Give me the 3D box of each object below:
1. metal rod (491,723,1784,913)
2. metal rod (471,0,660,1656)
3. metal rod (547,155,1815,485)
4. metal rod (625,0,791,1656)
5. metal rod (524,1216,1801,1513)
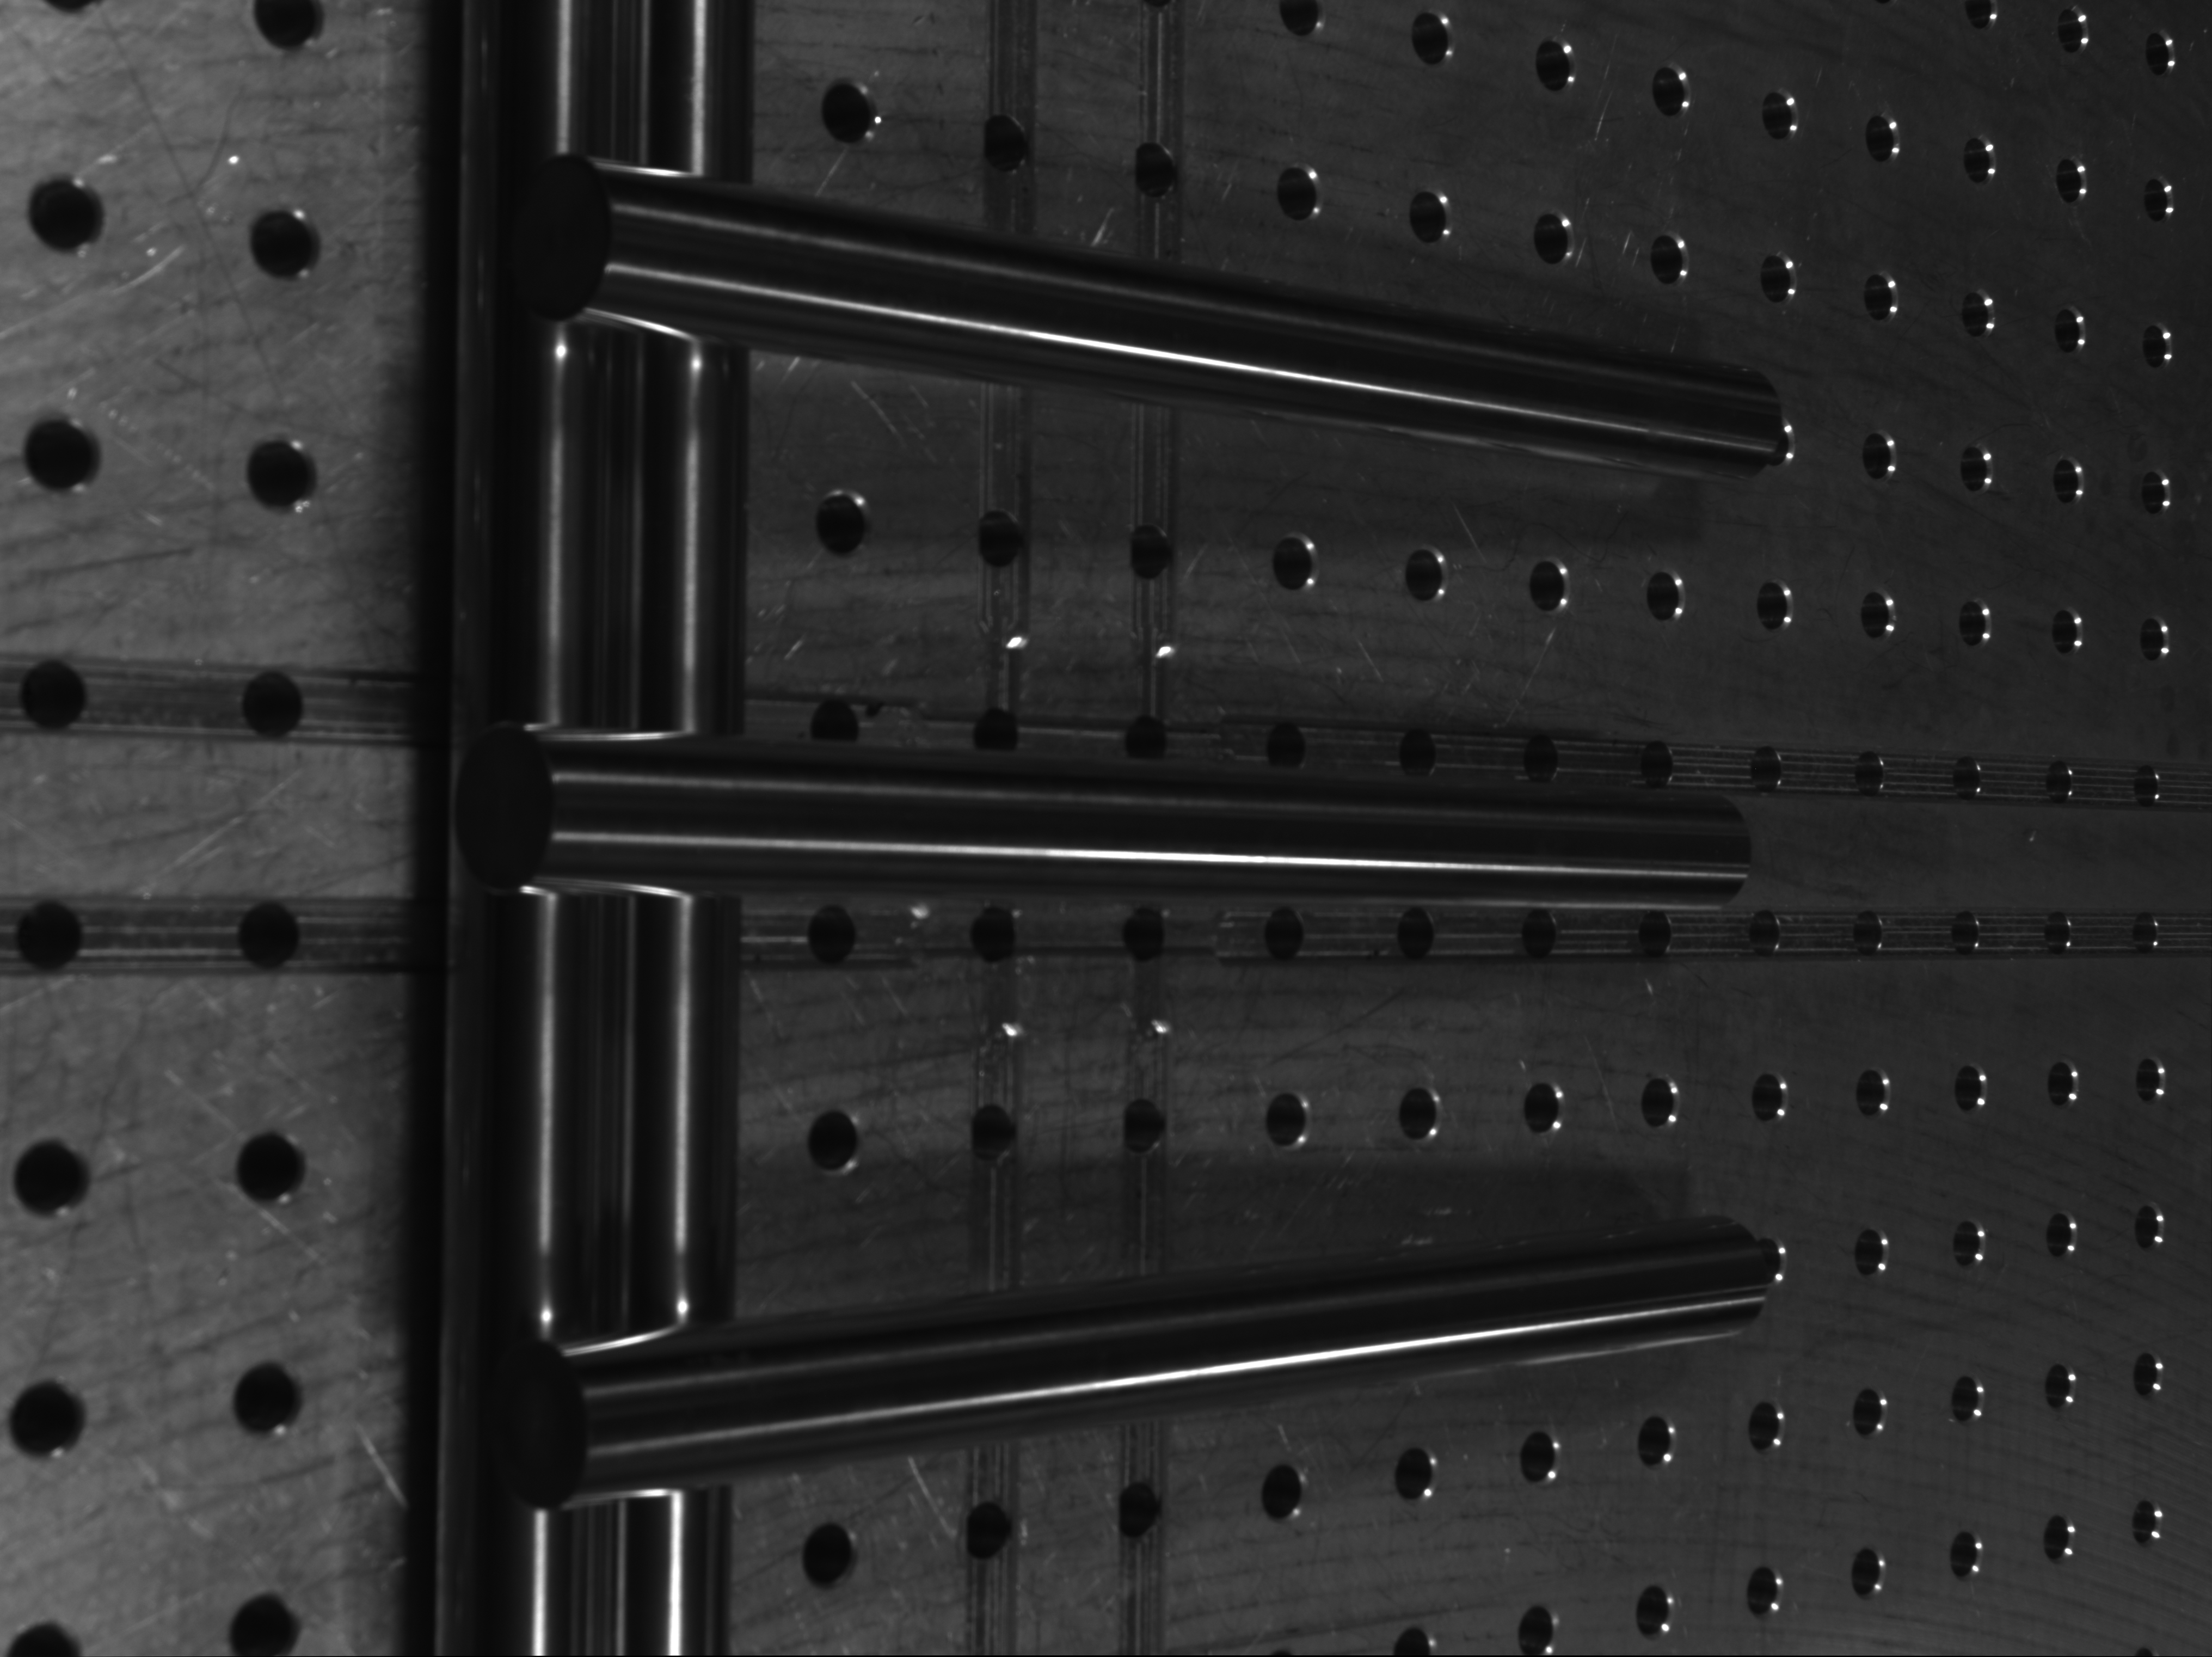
[{"bbox_3d":[0.023,0.001,0.640,0.301,0.025,0.025,2,89,-46],"label":"metal rod"},{"bbox_3d":[-0.084,0.013,0.569,0.025,0.025,0.300,1,89,-40],"label":"metal rod"},{"bbox_3d":[0.030,-0.085,0.647,0.301,0.025,0.025,1,89,-46],"label":"metal rod"},{"bbox_3d":[-0.065,0.005,0.585,0.025,0.025,0.300,1,89,-40],"label":"metal rod"},{"bbox_3d":[0.027,0.090,0.644,0.301,0.025,0.025,1,89,-46],"label":"metal rod"}]
